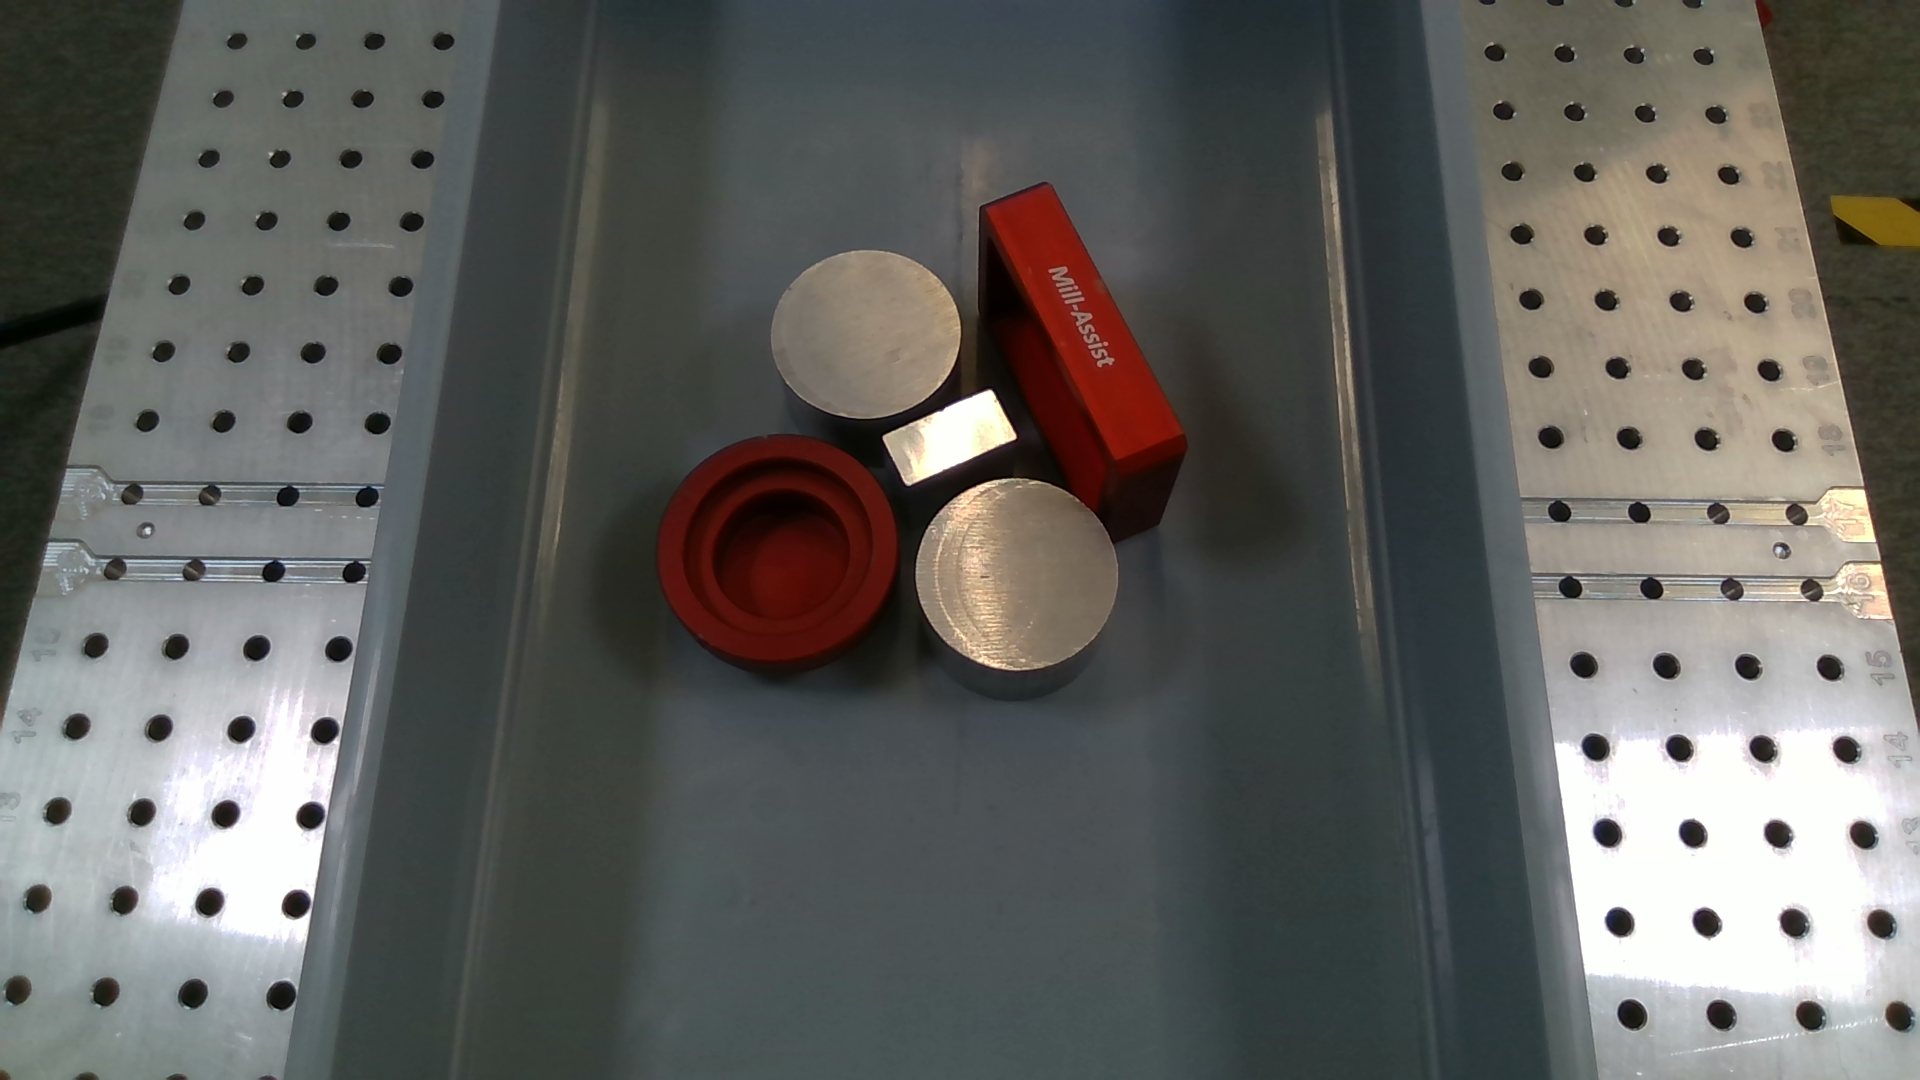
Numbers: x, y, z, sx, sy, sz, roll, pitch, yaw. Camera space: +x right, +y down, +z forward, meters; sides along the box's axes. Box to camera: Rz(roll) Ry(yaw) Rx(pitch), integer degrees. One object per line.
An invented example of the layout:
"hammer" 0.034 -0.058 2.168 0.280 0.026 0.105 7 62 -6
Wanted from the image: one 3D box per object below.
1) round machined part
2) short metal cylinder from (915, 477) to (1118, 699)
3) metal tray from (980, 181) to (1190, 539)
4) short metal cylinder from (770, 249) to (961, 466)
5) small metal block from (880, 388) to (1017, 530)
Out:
"round machined part" -0.074 0.008 0.575 0.098 0.042 0.098 0 70 0
"short metal cylinder" 0.022 0.021 0.566 0.080 0.050 0.080 0 70 0
"metal tray" 0.048 -0.072 0.577 0.030 0.090 0.130 -23 71 -8
"short metal cylinder" -0.040 -0.079 0.602 0.080 0.050 0.080 0 70 0
"small metal block" -0.005 -0.034 0.585 0.050 0.050 0.025 -24 72 -8
